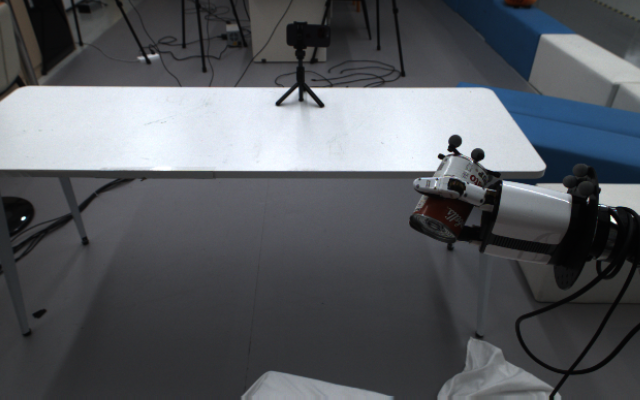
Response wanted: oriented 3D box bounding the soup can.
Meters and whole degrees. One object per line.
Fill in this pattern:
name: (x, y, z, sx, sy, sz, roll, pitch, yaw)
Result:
soup can: (0.175, -0.003, 0.647, 0.067, 0.067, 0.101, 23, 73, 28)
